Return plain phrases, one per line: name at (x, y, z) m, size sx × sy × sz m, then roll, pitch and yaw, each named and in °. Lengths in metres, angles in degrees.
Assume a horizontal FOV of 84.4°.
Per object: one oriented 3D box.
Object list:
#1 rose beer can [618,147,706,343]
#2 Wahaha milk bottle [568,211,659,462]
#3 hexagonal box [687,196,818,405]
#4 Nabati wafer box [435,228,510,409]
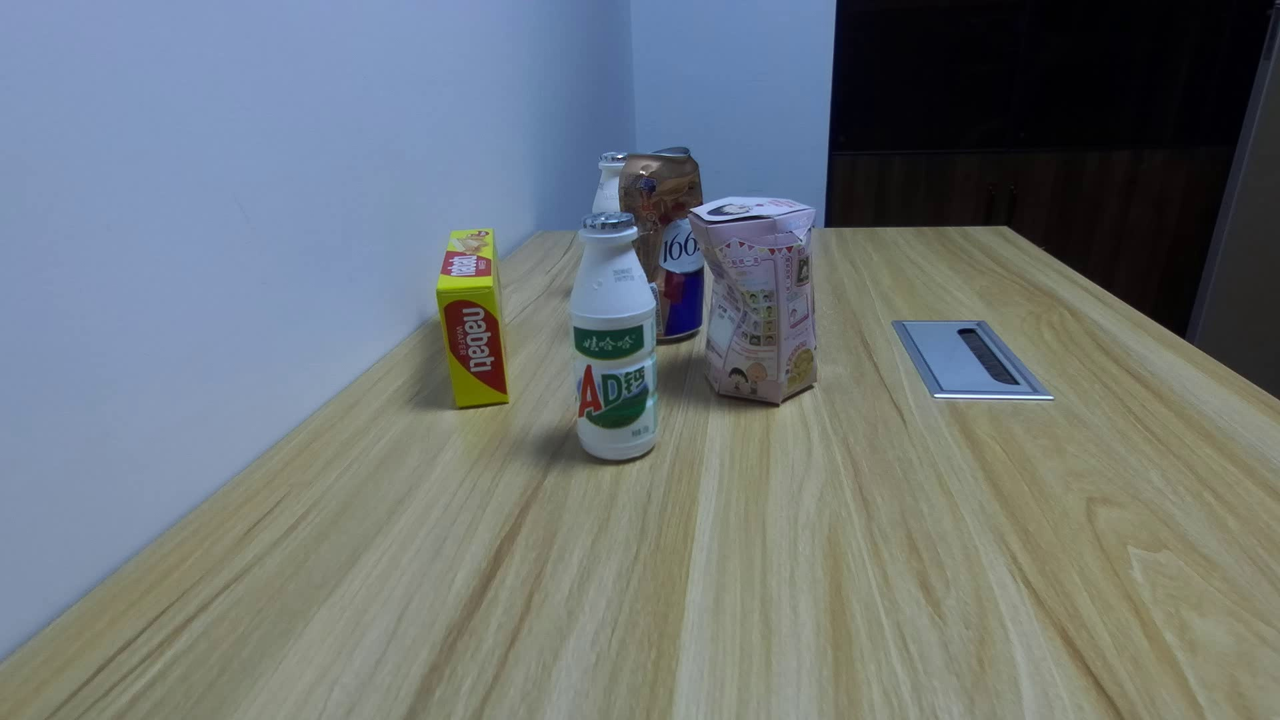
rose beer can at (0.021, -0.097, 0.610) m, size 0.068 × 0.162 × 0.073 m, roll 0°, pitch 21°, yaw 10°
Wahaha milk bottle at (-0.016, -0.013, 0.426) m, size 0.053 × 0.147 × 0.053 m, roll -2°, pitch 23°, yaw 1°
hexagonal box at (0.081, -0.044, 0.509) m, size 0.090 × 0.134 × 0.091 m, roll 7°, pitch 25°, yaw 29°
Nabati wafer box at (-0.135, -0.044, 0.590) m, size 0.042 × 0.093 × 0.202 m, roll -6°, pitch 23°, yaw -9°
